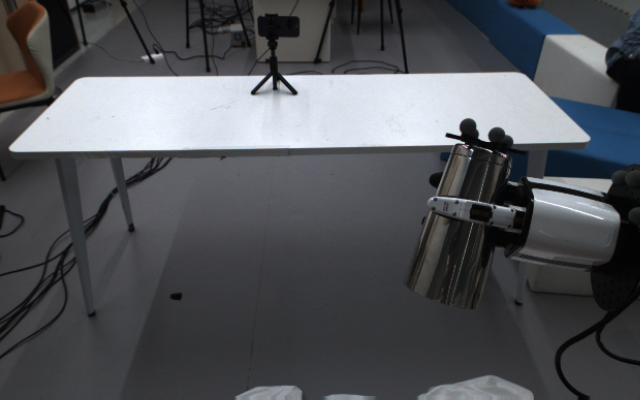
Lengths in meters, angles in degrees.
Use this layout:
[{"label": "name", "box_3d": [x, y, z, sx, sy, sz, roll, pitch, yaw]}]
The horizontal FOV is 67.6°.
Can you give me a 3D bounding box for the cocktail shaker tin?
[{"label": "cocktail shaker tin", "box_3d": [0.165, 0.026, 0.555, 0.093, 0.170, 0.093, 14, 6, -2]}]
